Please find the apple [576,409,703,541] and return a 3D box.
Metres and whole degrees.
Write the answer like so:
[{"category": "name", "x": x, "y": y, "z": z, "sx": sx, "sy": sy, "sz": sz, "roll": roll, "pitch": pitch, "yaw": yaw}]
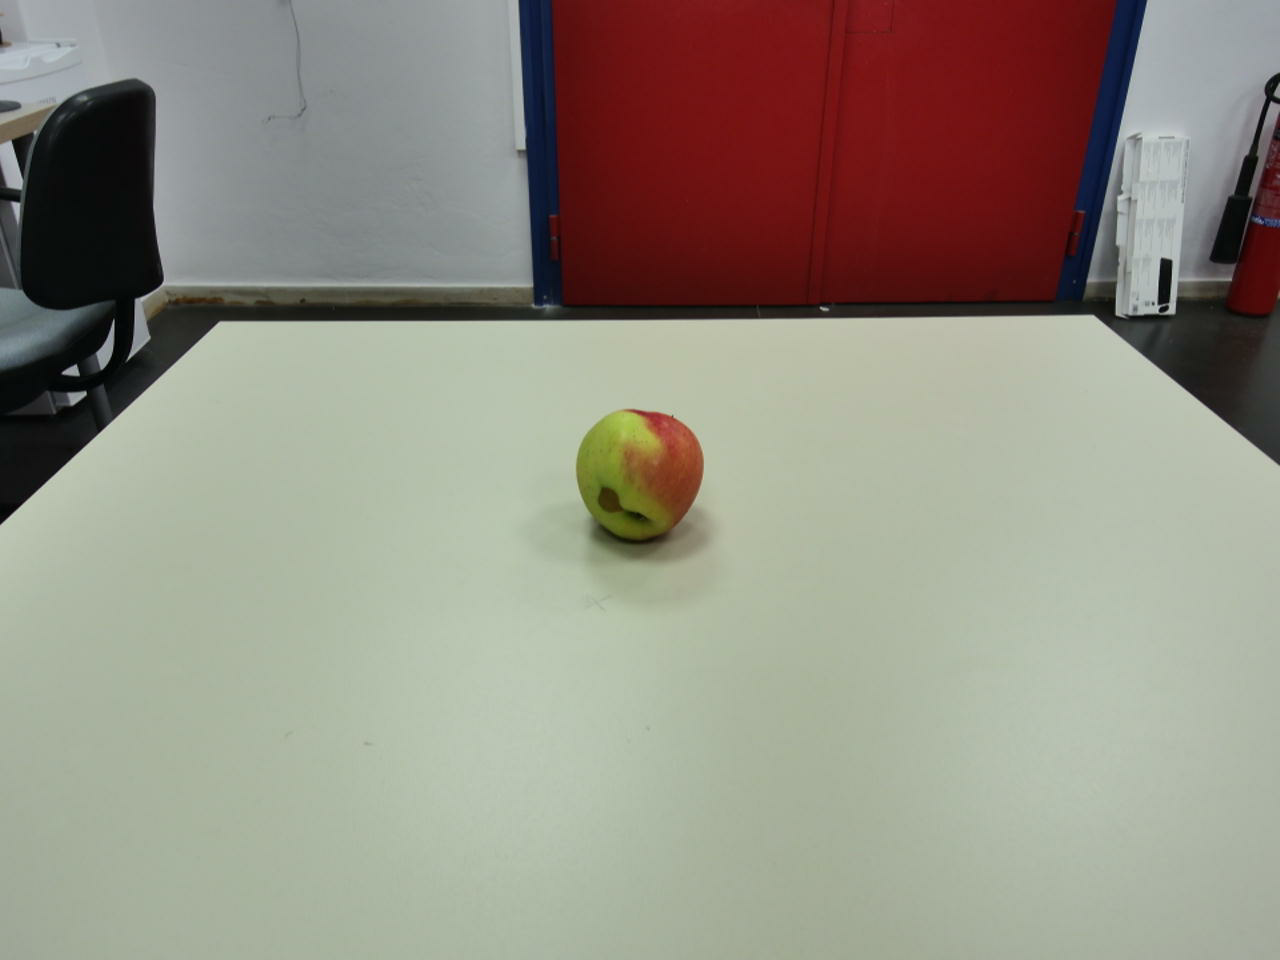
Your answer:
[{"category": "apple", "x": 0.000, "y": -0.004, "z": 0.580, "sx": 0.075, "sy": 0.074, "sz": 0.075, "roll": -8, "pitch": 28, "yaw": -18}]
